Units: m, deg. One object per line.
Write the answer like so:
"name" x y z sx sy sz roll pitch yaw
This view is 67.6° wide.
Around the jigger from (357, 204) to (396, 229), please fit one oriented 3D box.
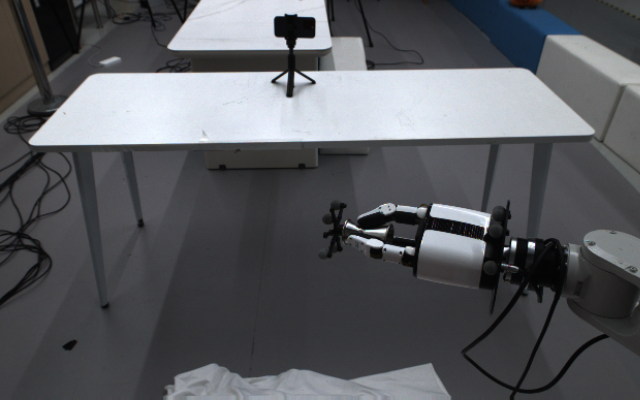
"jigger" 0.077 0.049 0.717 0.071 0.043 0.043 8 34 23
